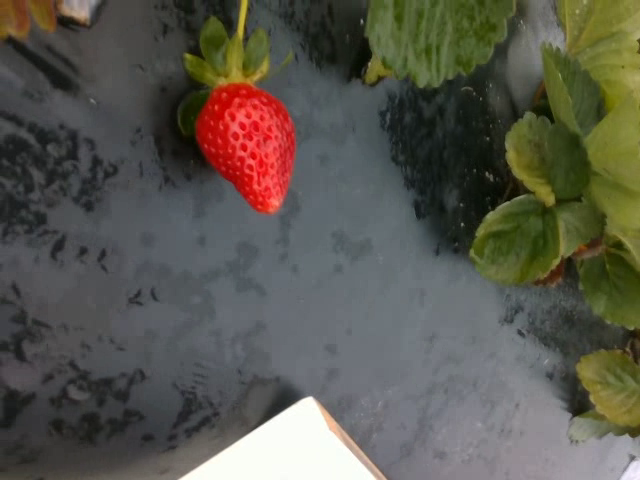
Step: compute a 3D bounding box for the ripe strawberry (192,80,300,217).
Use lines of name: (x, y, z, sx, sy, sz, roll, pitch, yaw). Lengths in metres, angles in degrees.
ripe strawberry: (-0.025, -0.035, 0.231, 0.045, 0.054, 0.048, 0, -13, -24)
